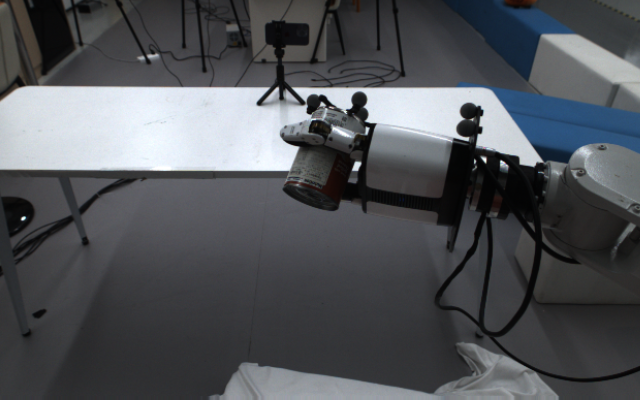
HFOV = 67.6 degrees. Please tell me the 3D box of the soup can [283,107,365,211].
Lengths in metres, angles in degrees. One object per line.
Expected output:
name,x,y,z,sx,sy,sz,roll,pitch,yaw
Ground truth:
soup can,0.008,-0.049,0.556,0.067,0.067,0.101,15,74,18
